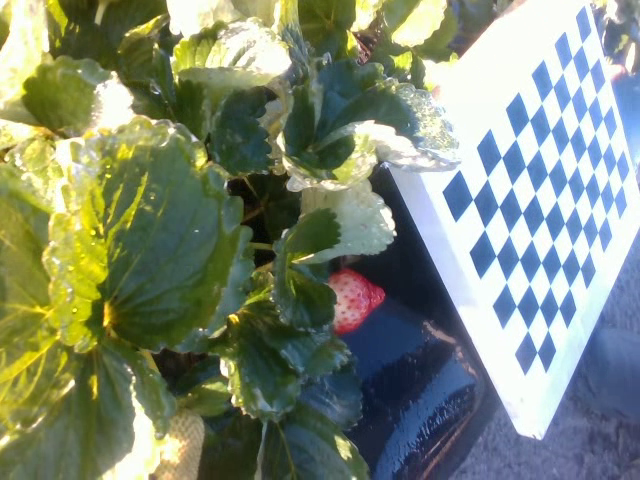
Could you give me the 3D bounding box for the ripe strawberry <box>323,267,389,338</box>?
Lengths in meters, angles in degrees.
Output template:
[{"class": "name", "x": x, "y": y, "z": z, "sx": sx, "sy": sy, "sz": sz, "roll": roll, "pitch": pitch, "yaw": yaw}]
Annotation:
[{"class": "ripe strawberry", "x": 0.024, "y": 0.042, "z": 0.381, "sx": 0.065, "sy": 0.040, "sz": 0.040, "roll": 2, "pitch": -3, "yaw": -44}]
